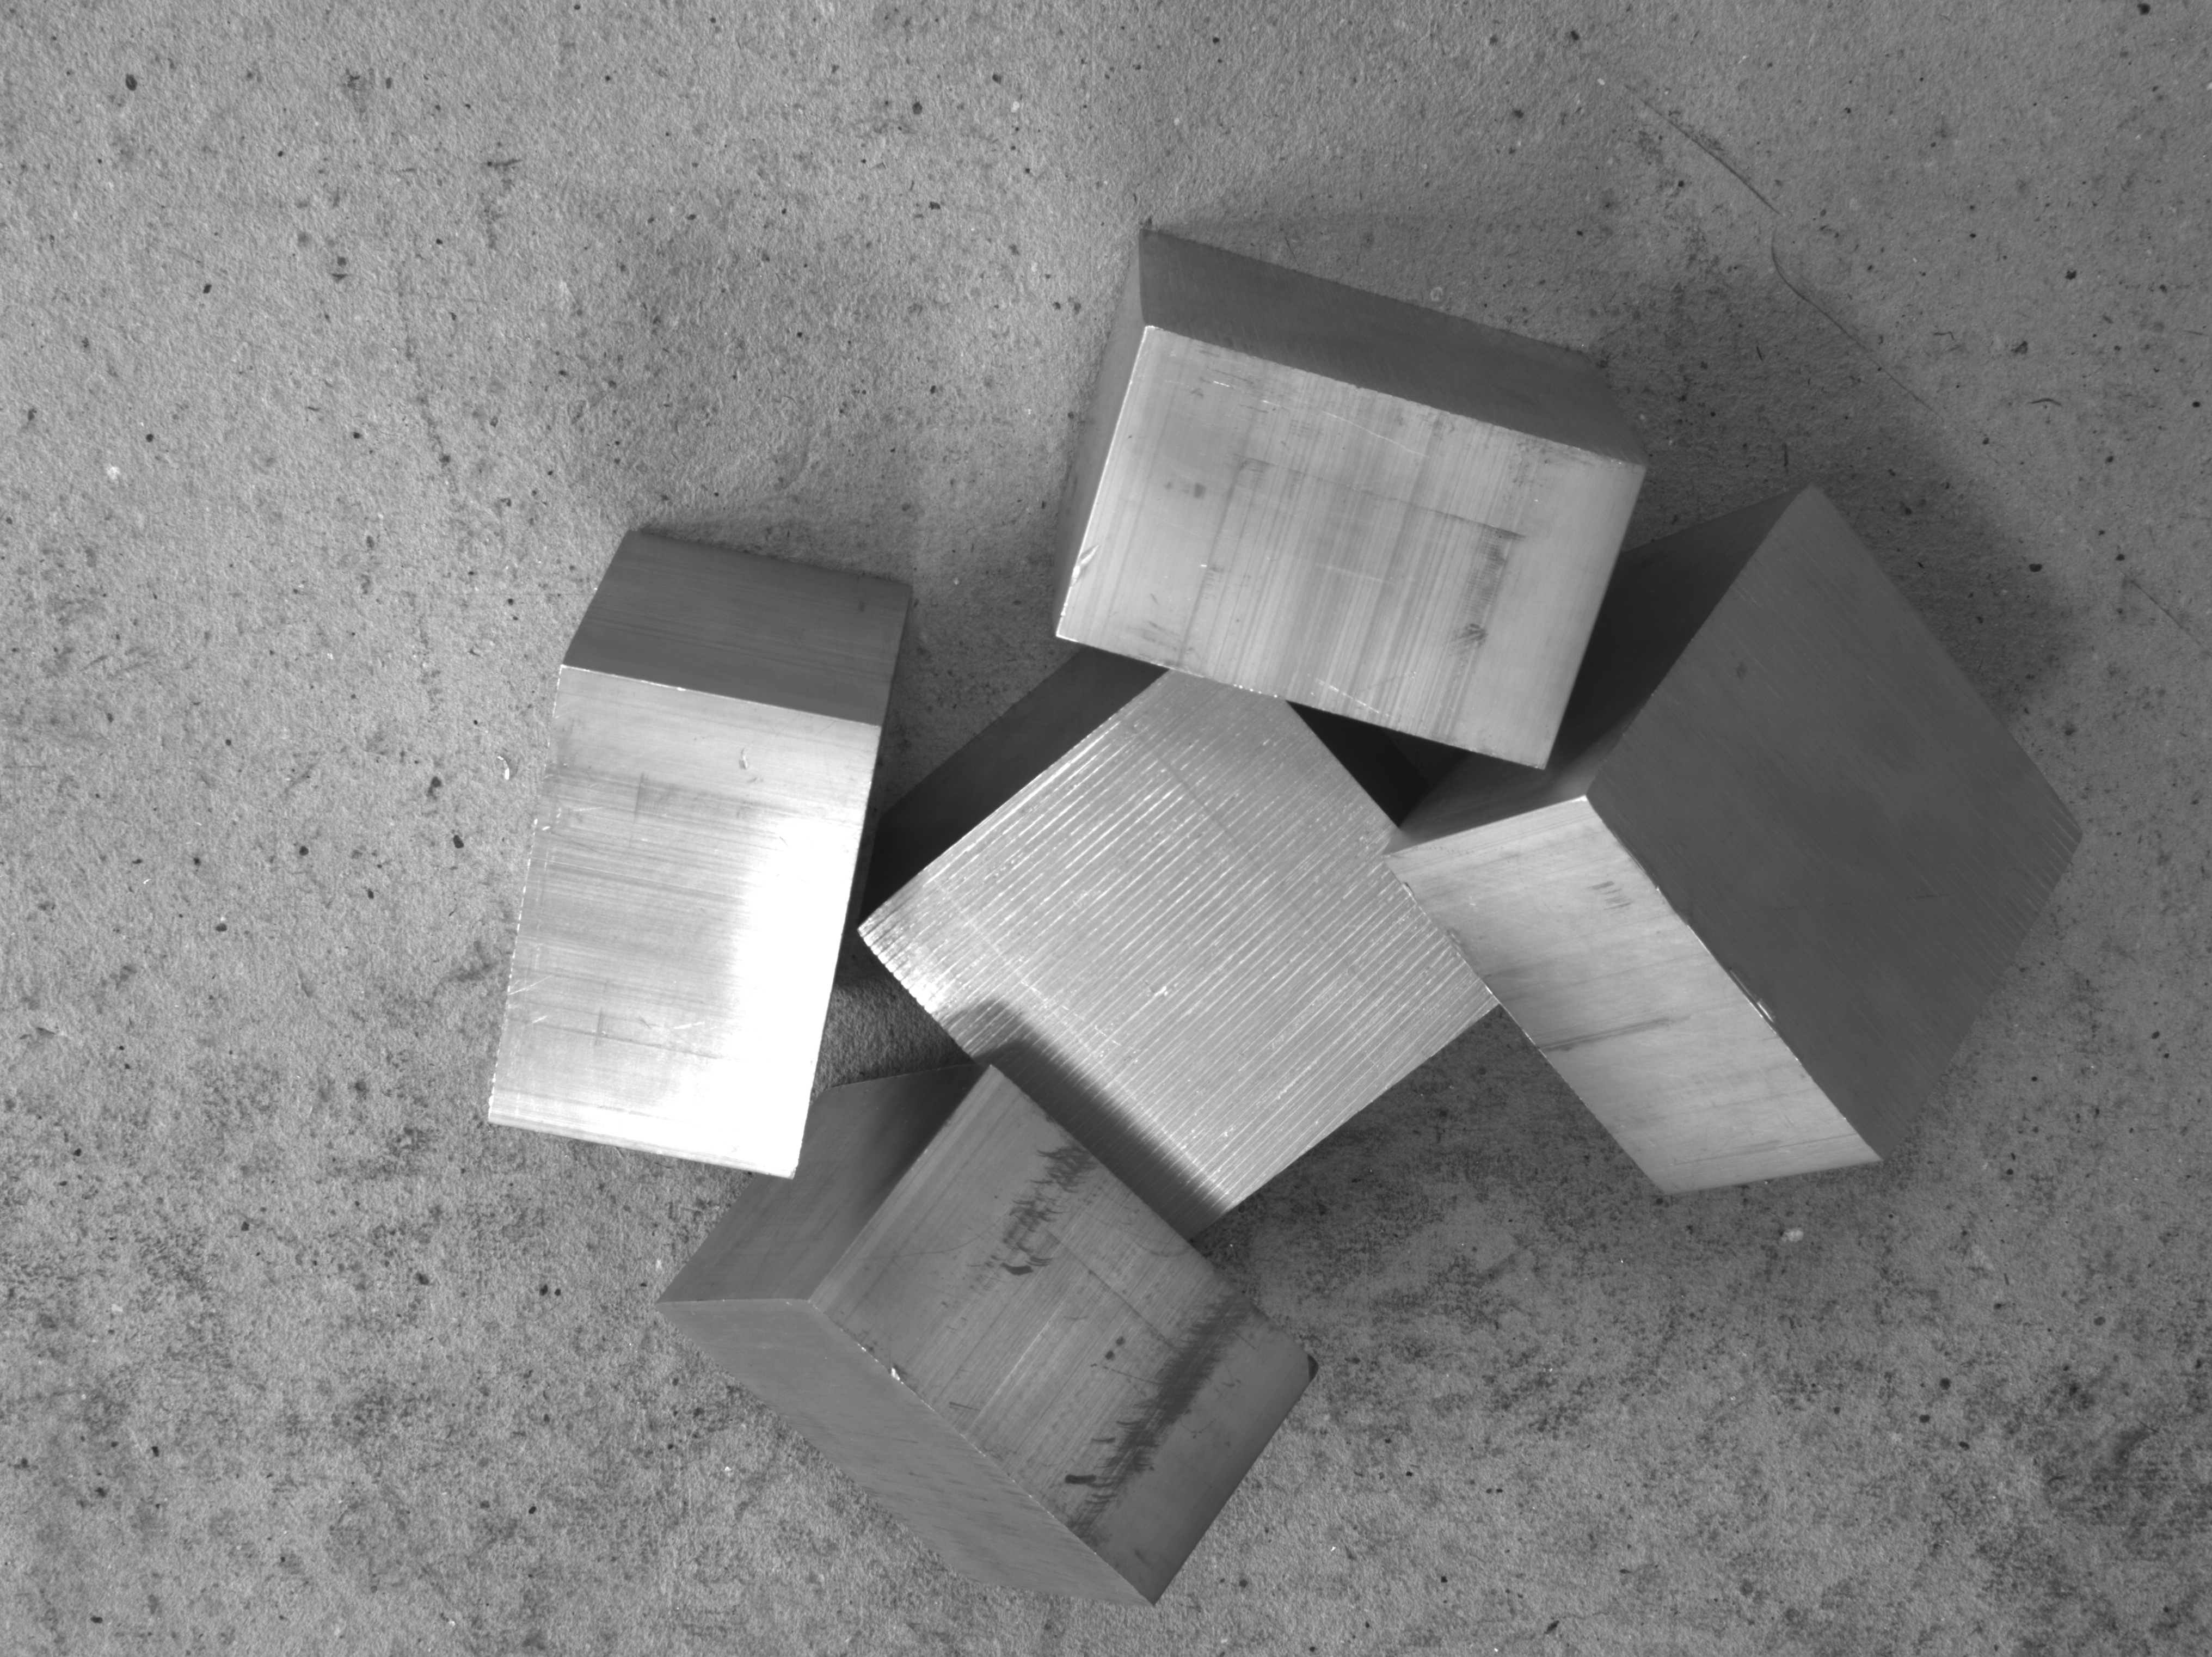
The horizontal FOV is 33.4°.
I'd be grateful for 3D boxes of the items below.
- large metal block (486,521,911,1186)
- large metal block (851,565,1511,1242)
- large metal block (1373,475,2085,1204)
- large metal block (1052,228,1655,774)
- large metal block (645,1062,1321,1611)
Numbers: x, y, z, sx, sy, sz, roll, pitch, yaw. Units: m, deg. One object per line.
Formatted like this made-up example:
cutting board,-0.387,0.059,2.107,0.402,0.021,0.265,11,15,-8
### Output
large metal block,-0.067,0.002,0.616,0.050,0.080,0.080,11,110,-4
large metal block,0.014,0.012,0.633,0.080,0.050,0.080,-39,106,13
large metal block,0.104,0.003,0.609,0.080,0.080,0.050,49,147,-15
large metal block,0.037,-0.055,0.595,0.080,0.080,0.050,15,109,-5
large metal block,-0.023,0.088,0.640,0.080,0.080,0.050,44,67,-14
